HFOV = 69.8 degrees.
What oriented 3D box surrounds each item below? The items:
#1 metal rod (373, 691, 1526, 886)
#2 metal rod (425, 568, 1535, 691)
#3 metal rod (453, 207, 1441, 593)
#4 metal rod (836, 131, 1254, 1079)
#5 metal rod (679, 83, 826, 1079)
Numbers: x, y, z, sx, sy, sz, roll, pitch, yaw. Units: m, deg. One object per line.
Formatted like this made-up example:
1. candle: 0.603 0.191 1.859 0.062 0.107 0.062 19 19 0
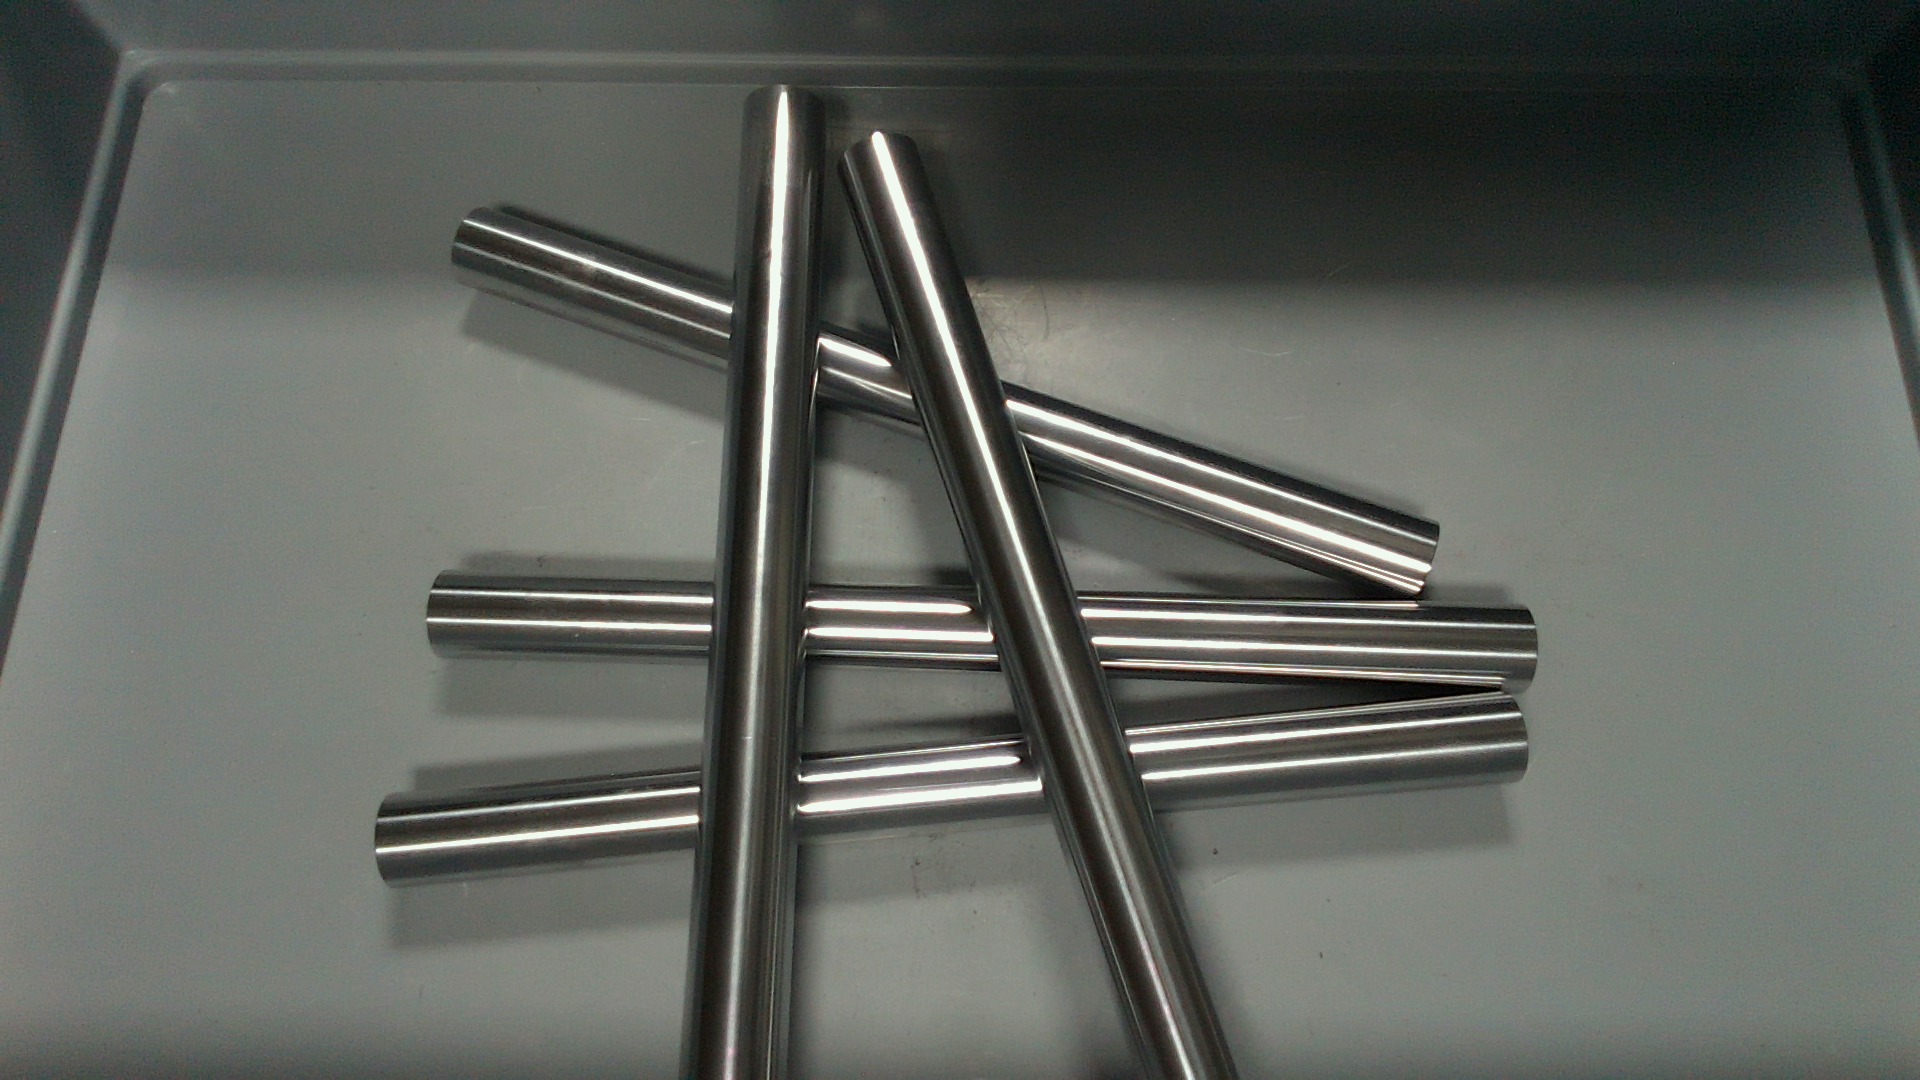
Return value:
1. metal rod: -0.001 0.066 0.369 0.300 0.025 0.025 -5 70 -2
2. metal rod: 0.005 0.025 0.384 0.300 0.025 0.025 2 70 1
3. metal rod: -0.009 -0.042 0.408 0.300 0.025 0.025 19 71 7
4. metal rod: 0.020 0.021 0.359 0.025 0.025 0.300 -17 71 -6
5. metal rod: -0.053 0.012 0.362 0.025 0.025 0.300 0 70 0
